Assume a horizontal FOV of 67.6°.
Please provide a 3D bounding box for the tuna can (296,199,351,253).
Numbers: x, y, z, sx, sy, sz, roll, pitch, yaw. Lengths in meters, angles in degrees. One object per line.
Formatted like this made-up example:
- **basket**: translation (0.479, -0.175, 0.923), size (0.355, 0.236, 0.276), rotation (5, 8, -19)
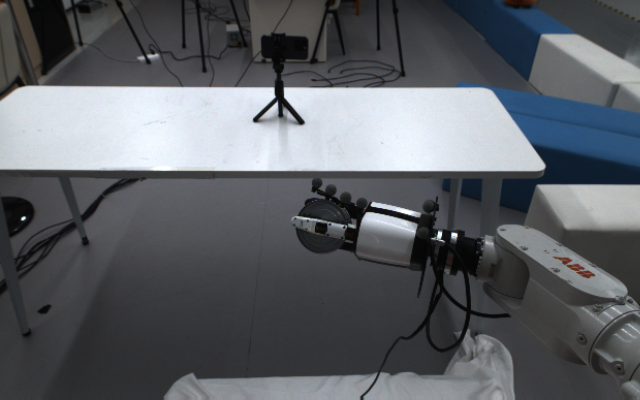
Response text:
- **tuna can**: translation (0.009, 0.040, 0.769), size (0.085, 0.085, 0.034), rotation (13, 3, 16)
